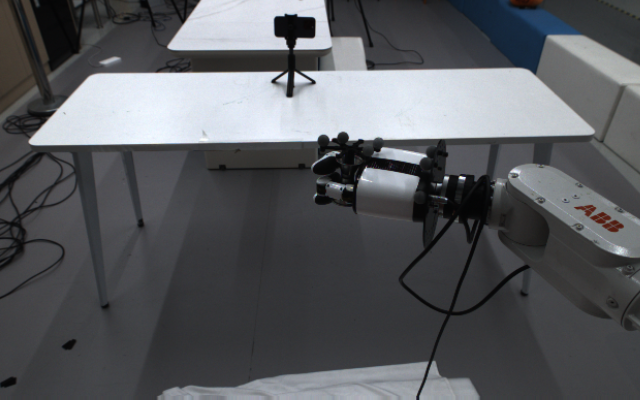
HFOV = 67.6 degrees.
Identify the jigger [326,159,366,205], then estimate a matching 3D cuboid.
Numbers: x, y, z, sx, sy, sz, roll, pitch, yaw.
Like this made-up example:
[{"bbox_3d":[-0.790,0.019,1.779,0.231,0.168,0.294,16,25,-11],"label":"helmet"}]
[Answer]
[{"bbox_3d":[0.045,-0.031,0.735,0.043,0.071,0.043,3,25,-1],"label":"jigger"}]
